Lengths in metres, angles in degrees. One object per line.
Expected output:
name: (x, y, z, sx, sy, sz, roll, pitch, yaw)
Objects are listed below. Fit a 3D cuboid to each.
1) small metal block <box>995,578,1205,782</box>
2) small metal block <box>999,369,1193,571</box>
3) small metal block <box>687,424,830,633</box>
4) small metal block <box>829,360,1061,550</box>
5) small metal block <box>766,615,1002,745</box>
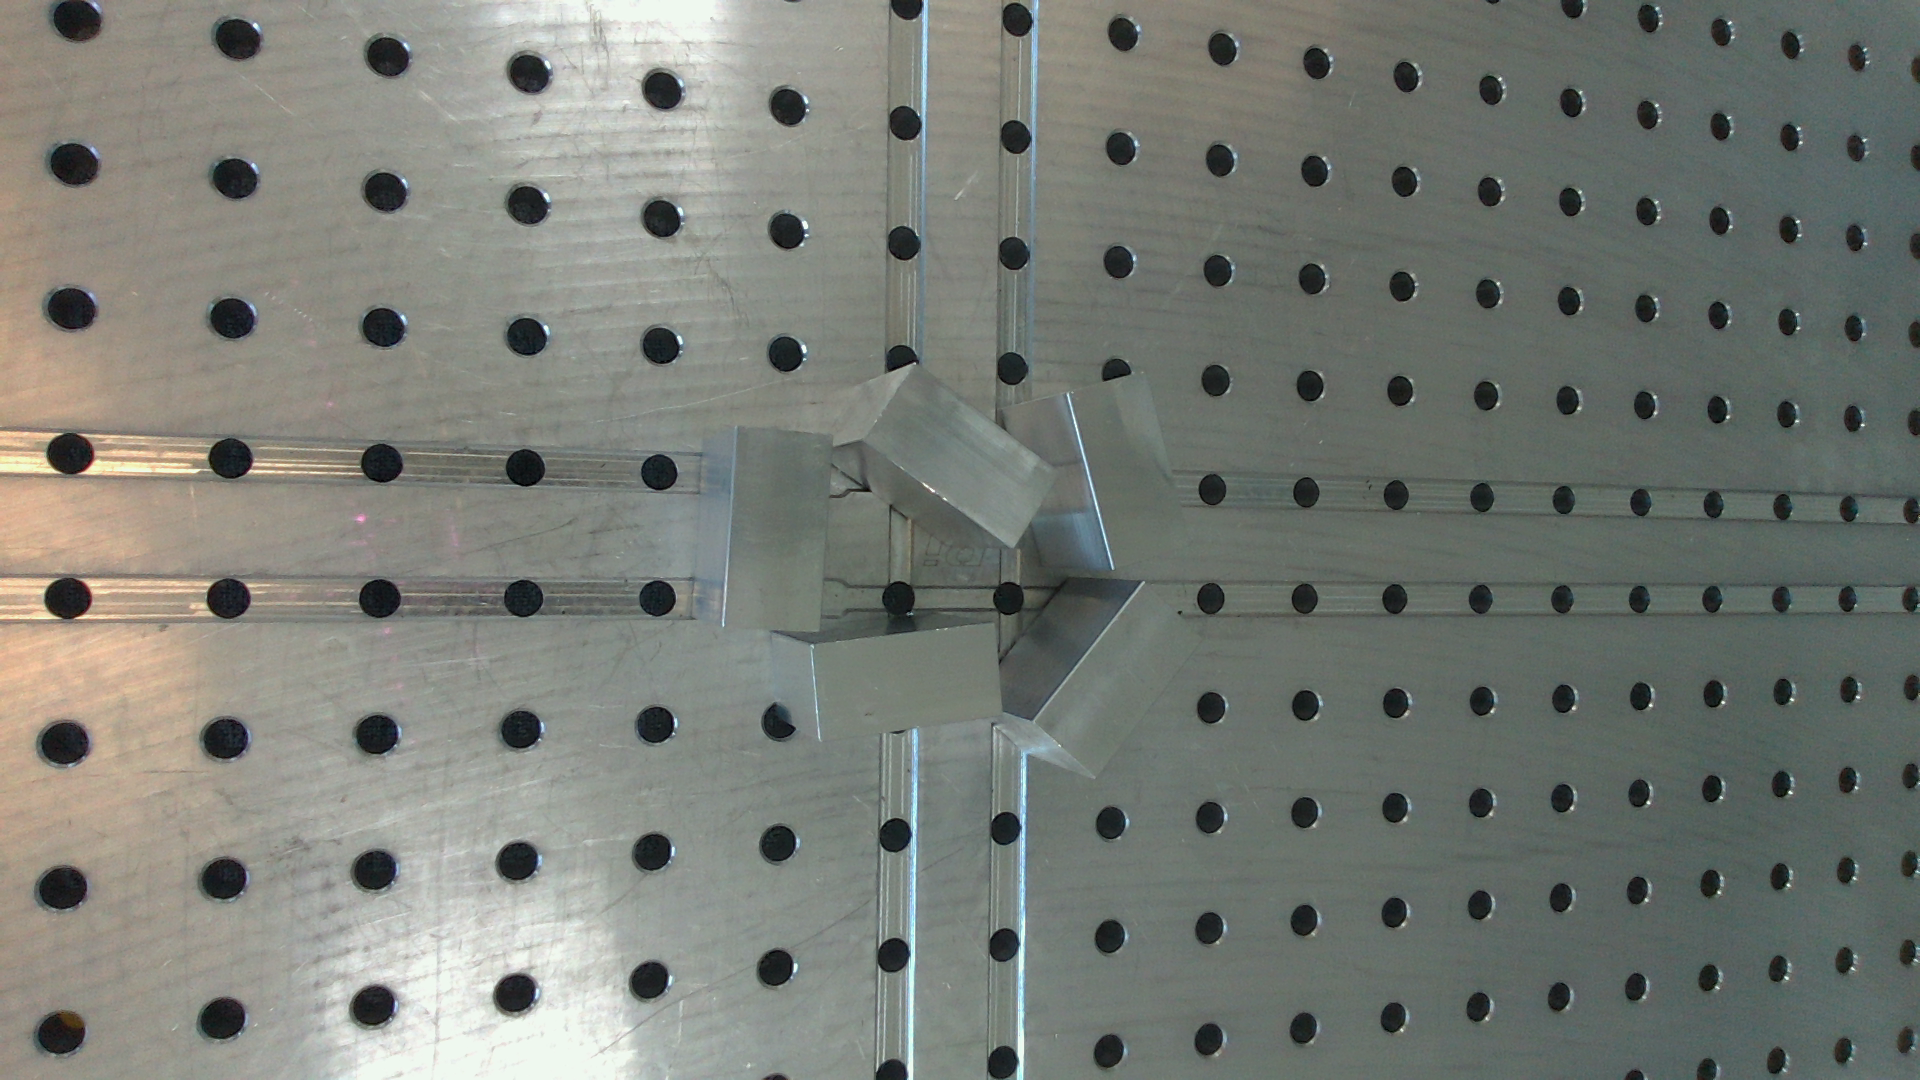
small metal block: (0.035, 0.038, 0.395, 0.025, 0.050, 0.050, 44, 76, -14)
small metal block: (0.038, -0.019, 0.396, 0.025, 0.050, 0.050, -17, 95, -19)
small metal block: (-0.054, -0.003, 0.363, 0.025, 0.050, 0.050, 4, 89, -20)
small metal block: (-0.008, -0.022, 0.380, 0.050, 0.050, 0.025, 35, 79, -17)
small metal block: (-0.022, 0.036, 0.374, 0.050, 0.050, 0.025, -5, 92, -20)
